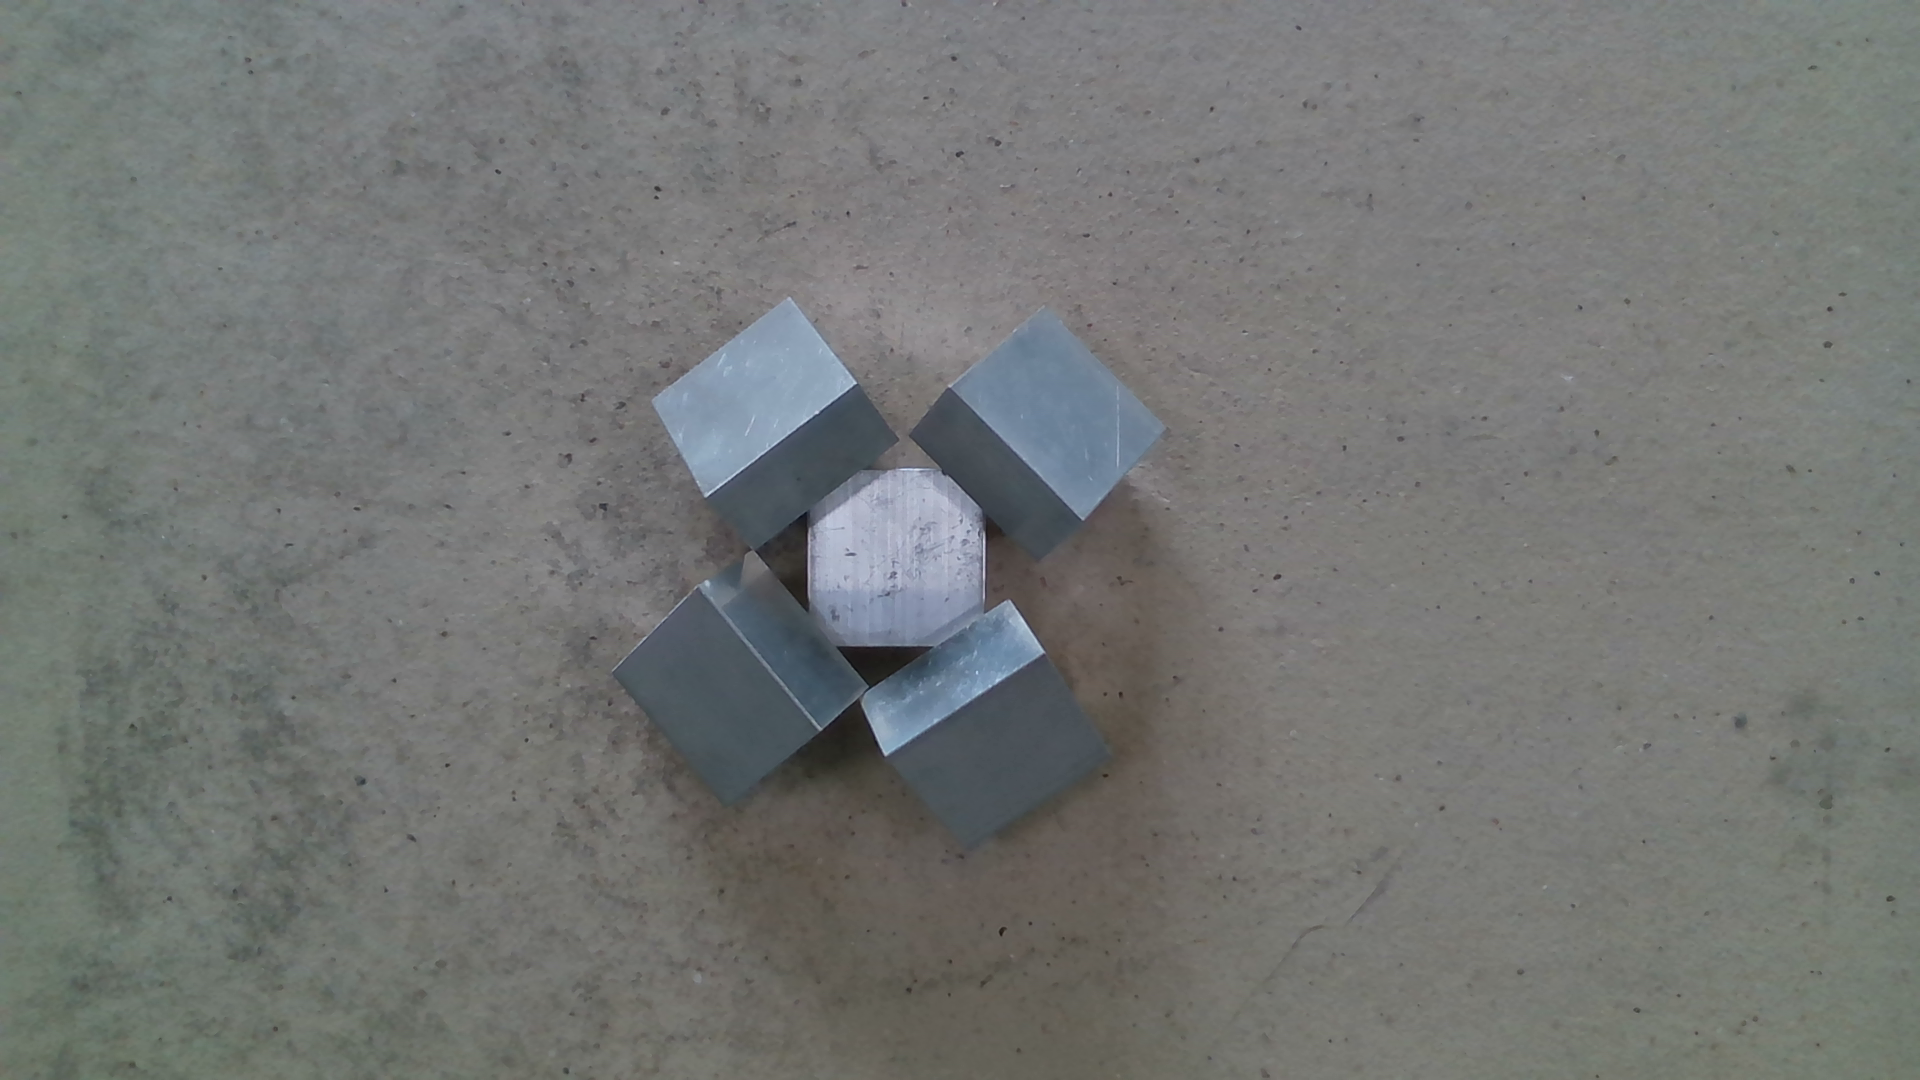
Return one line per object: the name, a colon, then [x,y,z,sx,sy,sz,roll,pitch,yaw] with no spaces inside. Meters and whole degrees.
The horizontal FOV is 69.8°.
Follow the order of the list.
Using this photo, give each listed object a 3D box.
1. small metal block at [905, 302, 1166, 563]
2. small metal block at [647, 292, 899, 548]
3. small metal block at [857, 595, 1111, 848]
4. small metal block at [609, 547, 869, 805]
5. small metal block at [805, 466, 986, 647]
small metal block: [0.022,-0.031,0.383,0.050,0.025,0.050,45,49,-1]
small metal block: [-0.053,-0.034,0.382,0.050,0.025,0.050,-37,46,0]
small metal block: [0.007,0.051,0.383,0.050,0.025,0.050,-33,131,1]
small metal block: [-0.062,0.038,0.383,0.050,0.025,0.050,50,128,0]
small metal block: [-0.018,0.004,0.395,0.050,0.025,0.050,0,92,0]
